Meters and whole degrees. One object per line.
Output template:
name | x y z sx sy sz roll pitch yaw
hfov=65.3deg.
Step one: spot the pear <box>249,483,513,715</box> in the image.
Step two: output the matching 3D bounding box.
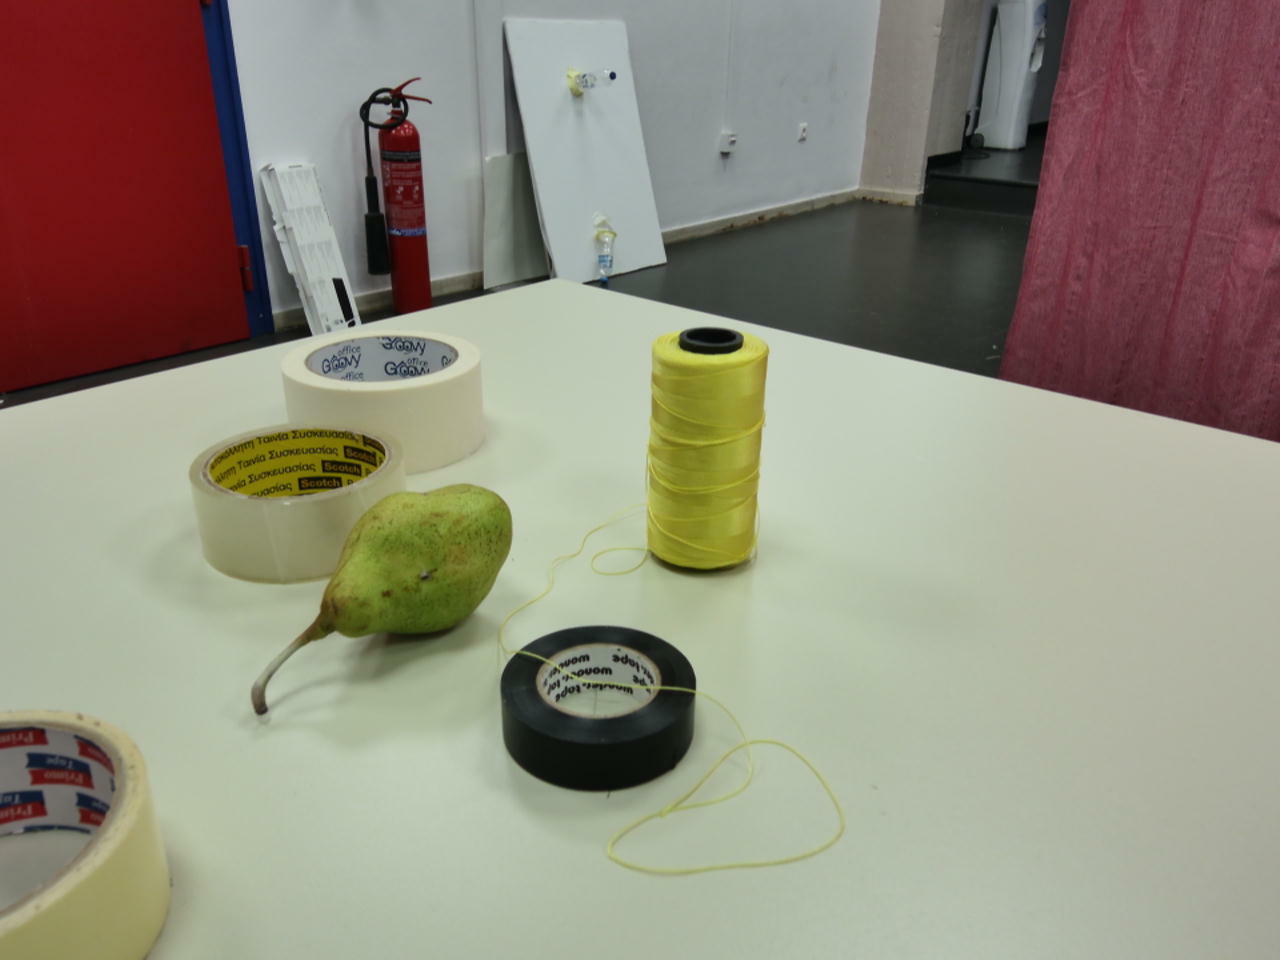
pear | -0.099 0.035 0.375 0.111 0.056 0.056 -15 27 -33
